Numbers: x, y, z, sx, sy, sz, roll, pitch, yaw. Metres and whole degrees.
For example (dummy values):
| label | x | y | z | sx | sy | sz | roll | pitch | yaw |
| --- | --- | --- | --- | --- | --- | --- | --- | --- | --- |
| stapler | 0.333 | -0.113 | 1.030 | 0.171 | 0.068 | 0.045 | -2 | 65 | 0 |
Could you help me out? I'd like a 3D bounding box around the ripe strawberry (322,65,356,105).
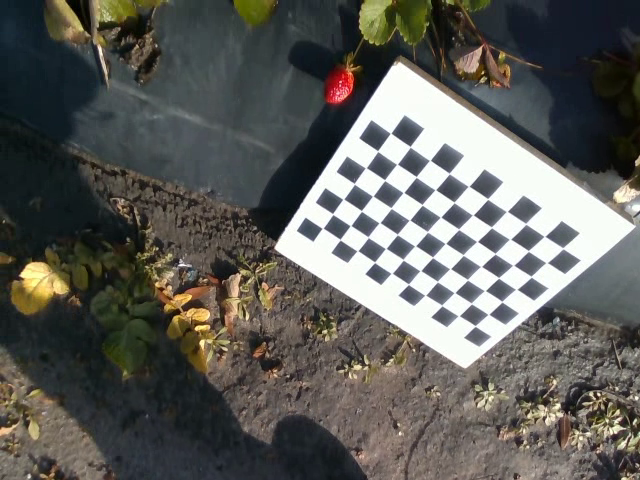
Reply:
| label | x | y | z | sx | sy | sz | roll | pitch | yaw |
| --- | --- | --- | --- | --- | --- | --- | --- | --- | --- |
| ripe strawberry | 0.015 | -0.131 | 0.488 | 0.034 | 0.038 | 0.033 | 31 | -16 | -5 |
